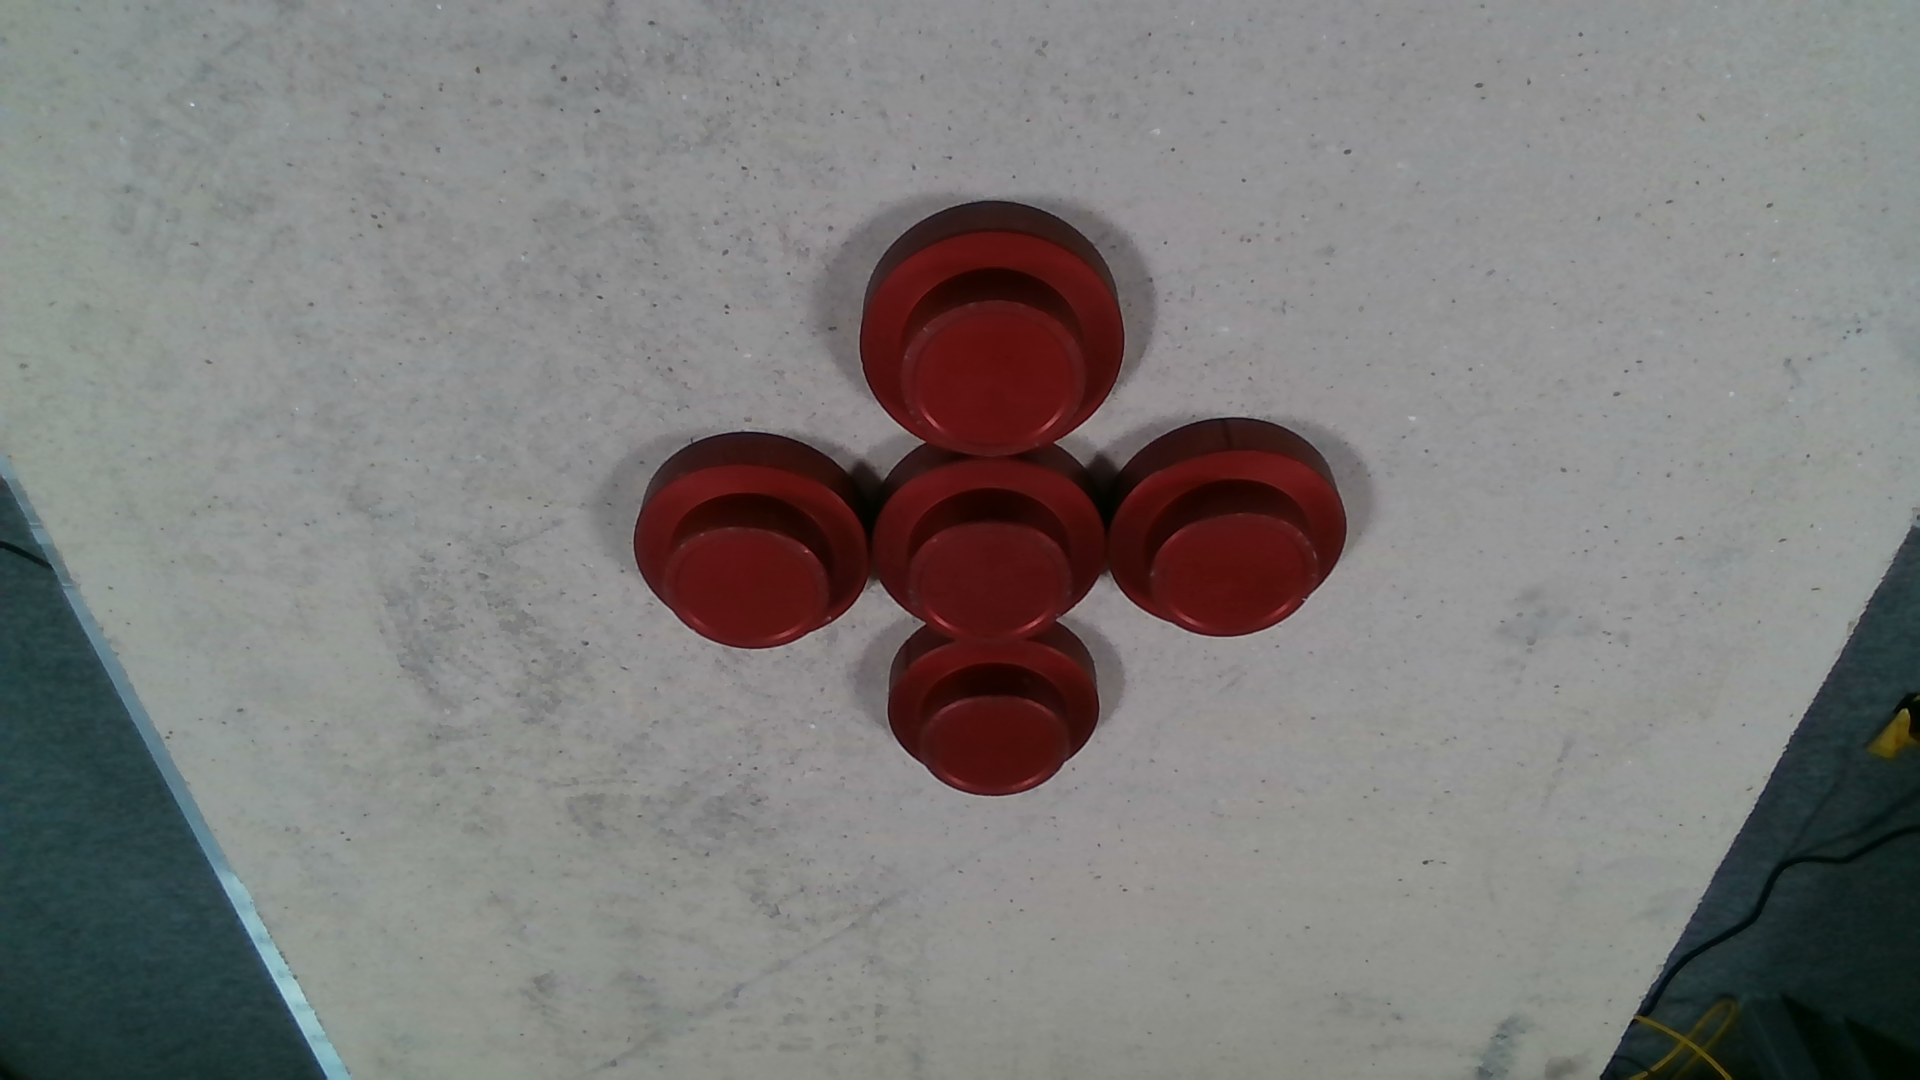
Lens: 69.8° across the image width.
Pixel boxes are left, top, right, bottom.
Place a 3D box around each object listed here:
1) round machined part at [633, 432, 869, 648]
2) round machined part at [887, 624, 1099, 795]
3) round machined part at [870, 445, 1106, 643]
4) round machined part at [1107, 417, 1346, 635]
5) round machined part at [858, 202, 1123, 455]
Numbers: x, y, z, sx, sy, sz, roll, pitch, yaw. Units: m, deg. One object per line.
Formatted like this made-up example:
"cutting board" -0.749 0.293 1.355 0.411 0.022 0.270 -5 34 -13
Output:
"round machined part" -0.087 0.007 0.573 0.098 0.042 0.098 0 130 0
"round machined part" 0.015 0.080 0.636 0.098 0.042 0.098 0 130 0
"round machined part" 0.012 0.005 0.572 0.098 0.042 0.098 0 130 0
"round machined part" 0.110 0.001 0.569 0.098 0.042 0.098 0 130 0
"round machined part" 0.011 -0.071 0.509 0.098 0.042 0.098 0 130 0
